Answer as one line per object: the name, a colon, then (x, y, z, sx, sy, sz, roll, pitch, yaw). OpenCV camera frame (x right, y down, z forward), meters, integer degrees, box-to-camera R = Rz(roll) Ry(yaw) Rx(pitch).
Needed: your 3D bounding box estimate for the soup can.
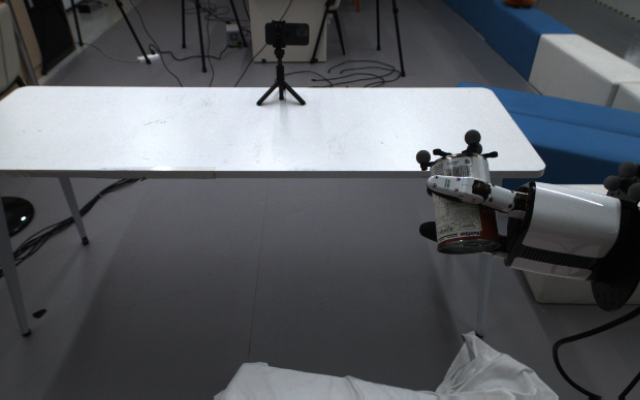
soup can: (0.164, 0.003, 0.555, 0.067, 0.067, 0.101, 0, 72, -4)
